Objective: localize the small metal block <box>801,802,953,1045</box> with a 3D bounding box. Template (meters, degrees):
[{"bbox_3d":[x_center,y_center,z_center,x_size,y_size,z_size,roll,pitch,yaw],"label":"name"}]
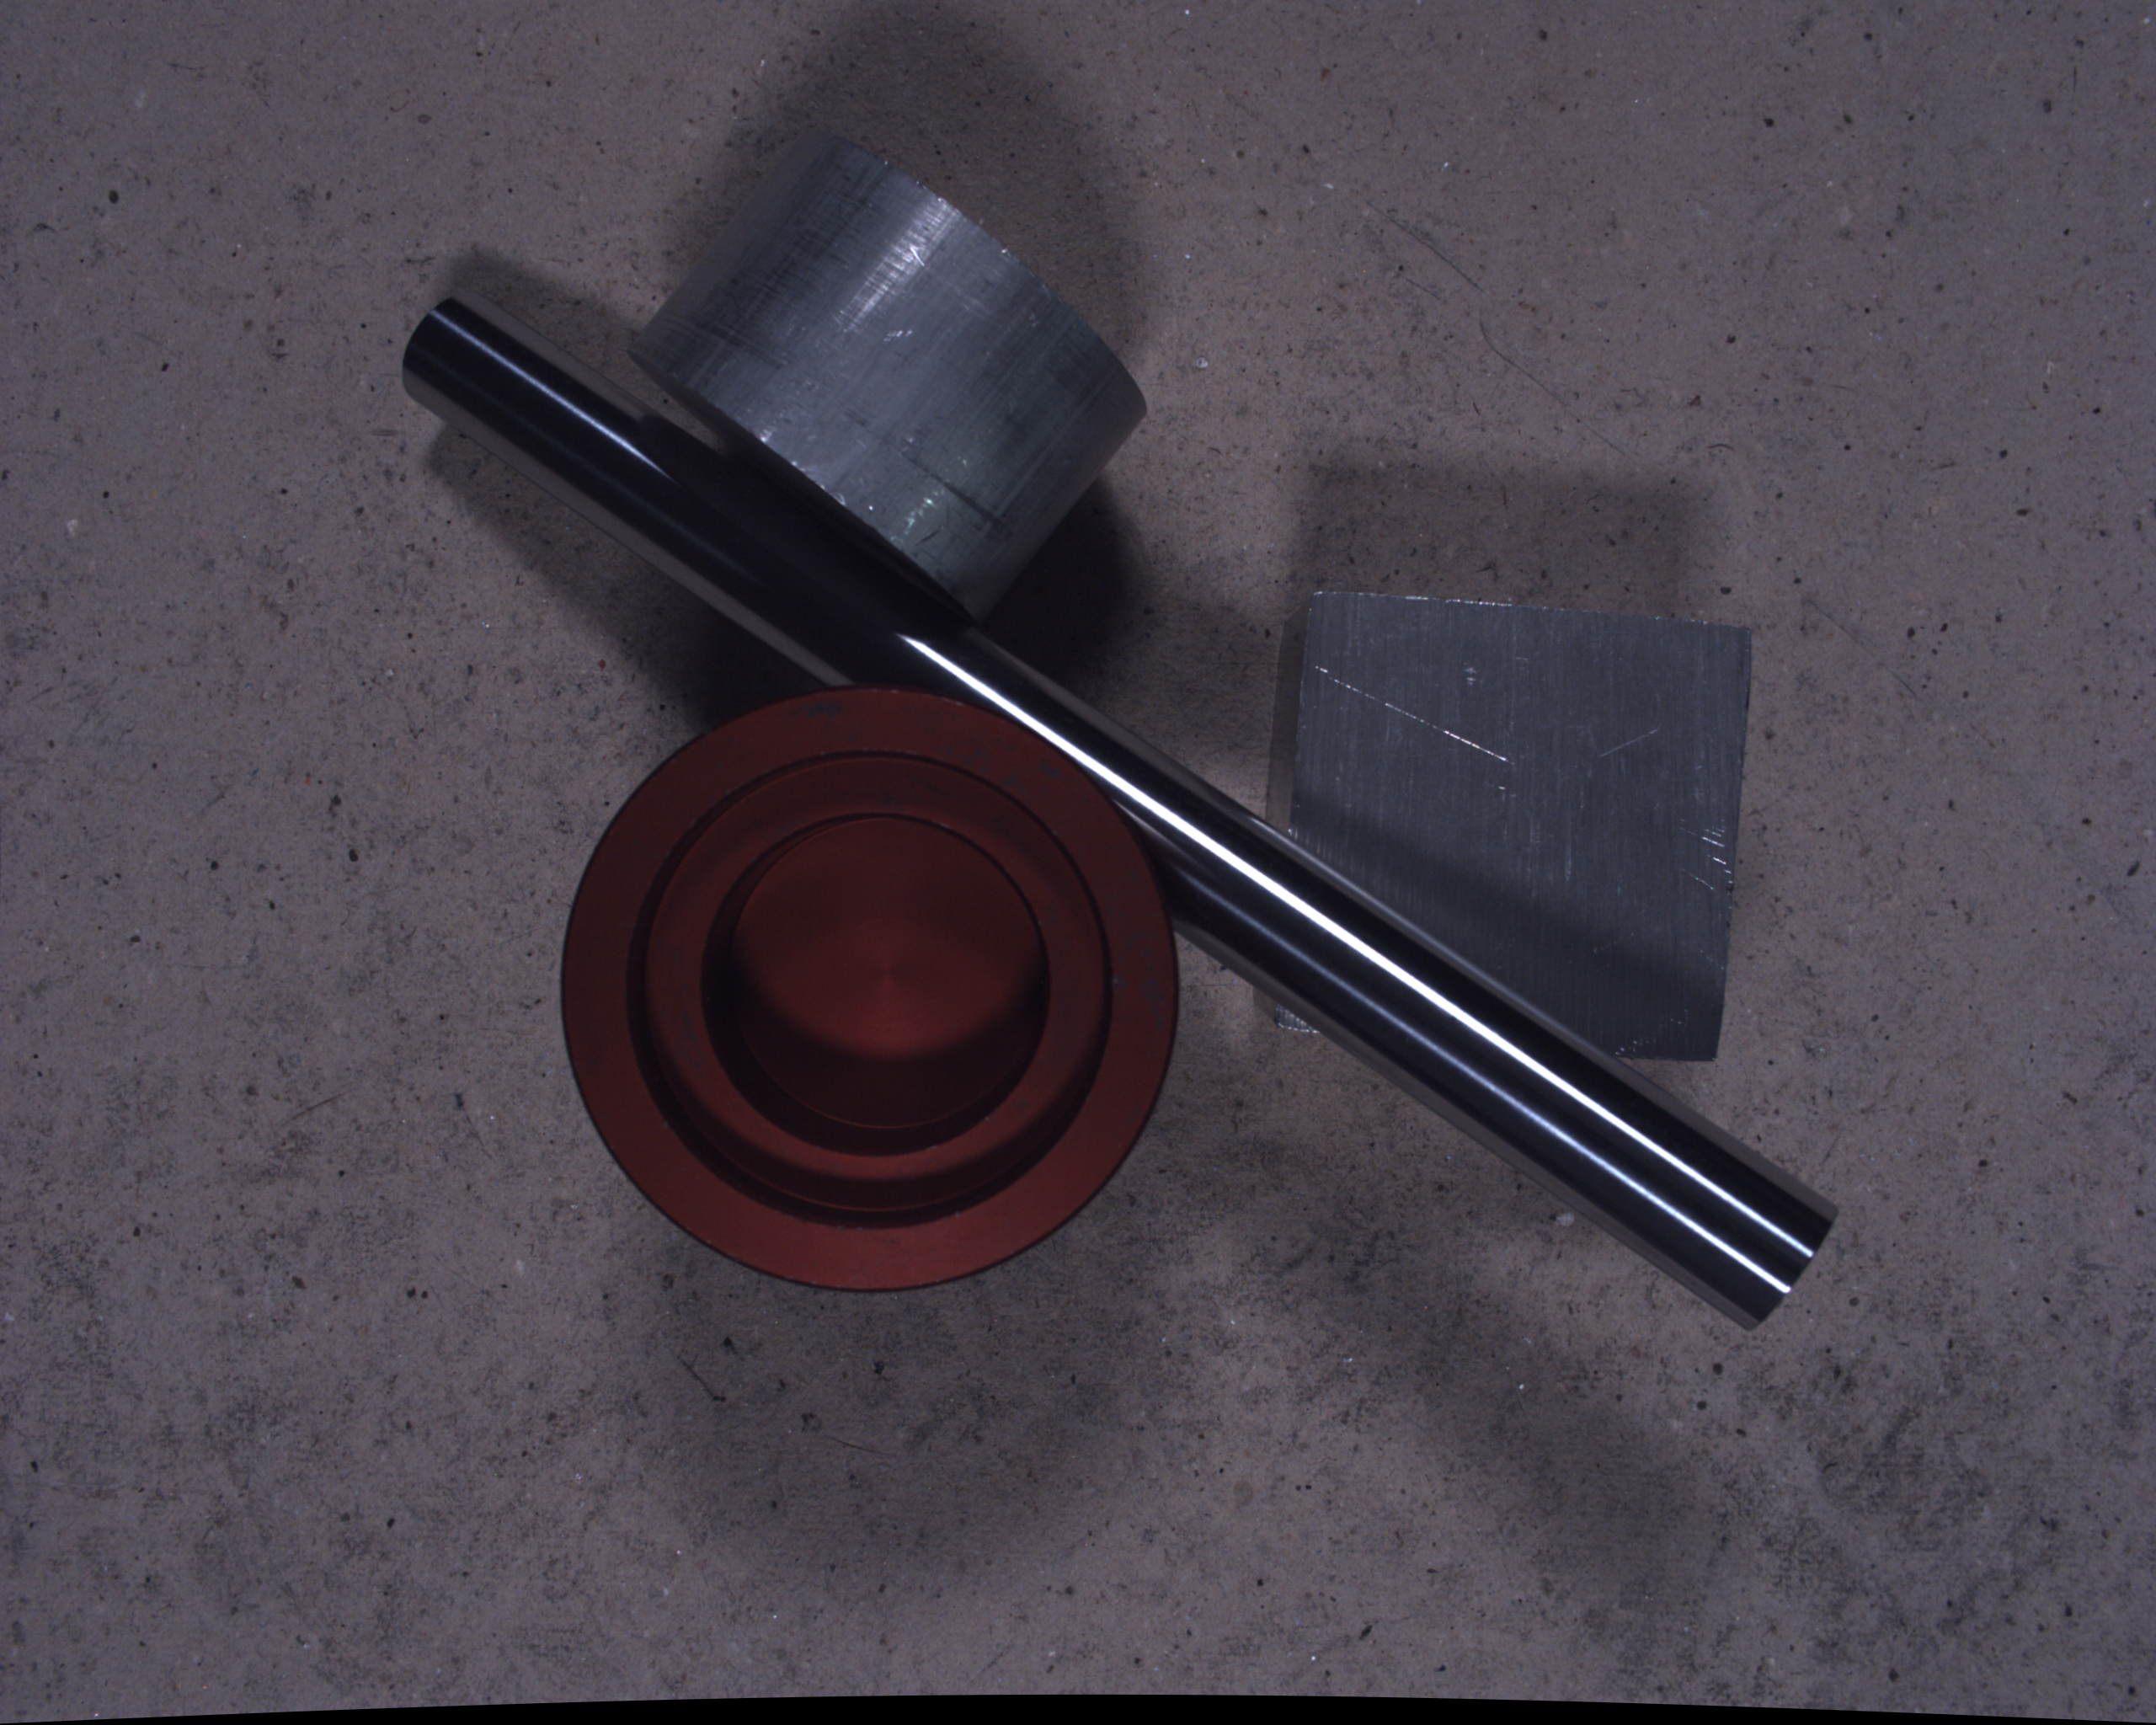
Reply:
[{"bbox_3d":[-0.037,0.008,0.399,0.025,0.050,0.050,-2,90,0],"label":"small metal block"}]

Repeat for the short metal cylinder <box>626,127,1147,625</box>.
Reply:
[{"bbox_3d":[-0.035,-0.087,0.383,0.080,0.080,0.050,37,90,-1],"label":"short metal cylinder"}]

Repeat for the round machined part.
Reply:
[{"bbox_3d":[-0.033,0.020,0.353,0.099,0.042,0.097,0,91,-1],"label":"round machined part"}]

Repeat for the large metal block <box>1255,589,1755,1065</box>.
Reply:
[{"bbox_3d":[0.079,-0.007,0.400,0.081,0.050,0.079,4,90,-1],"label":"large metal block"}]

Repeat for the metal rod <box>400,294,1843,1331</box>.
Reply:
[{"bbox_3d":[-0.003,-0.017,0.374,0.300,0.025,0.025,35,90,14],"label":"metal rod"}]
